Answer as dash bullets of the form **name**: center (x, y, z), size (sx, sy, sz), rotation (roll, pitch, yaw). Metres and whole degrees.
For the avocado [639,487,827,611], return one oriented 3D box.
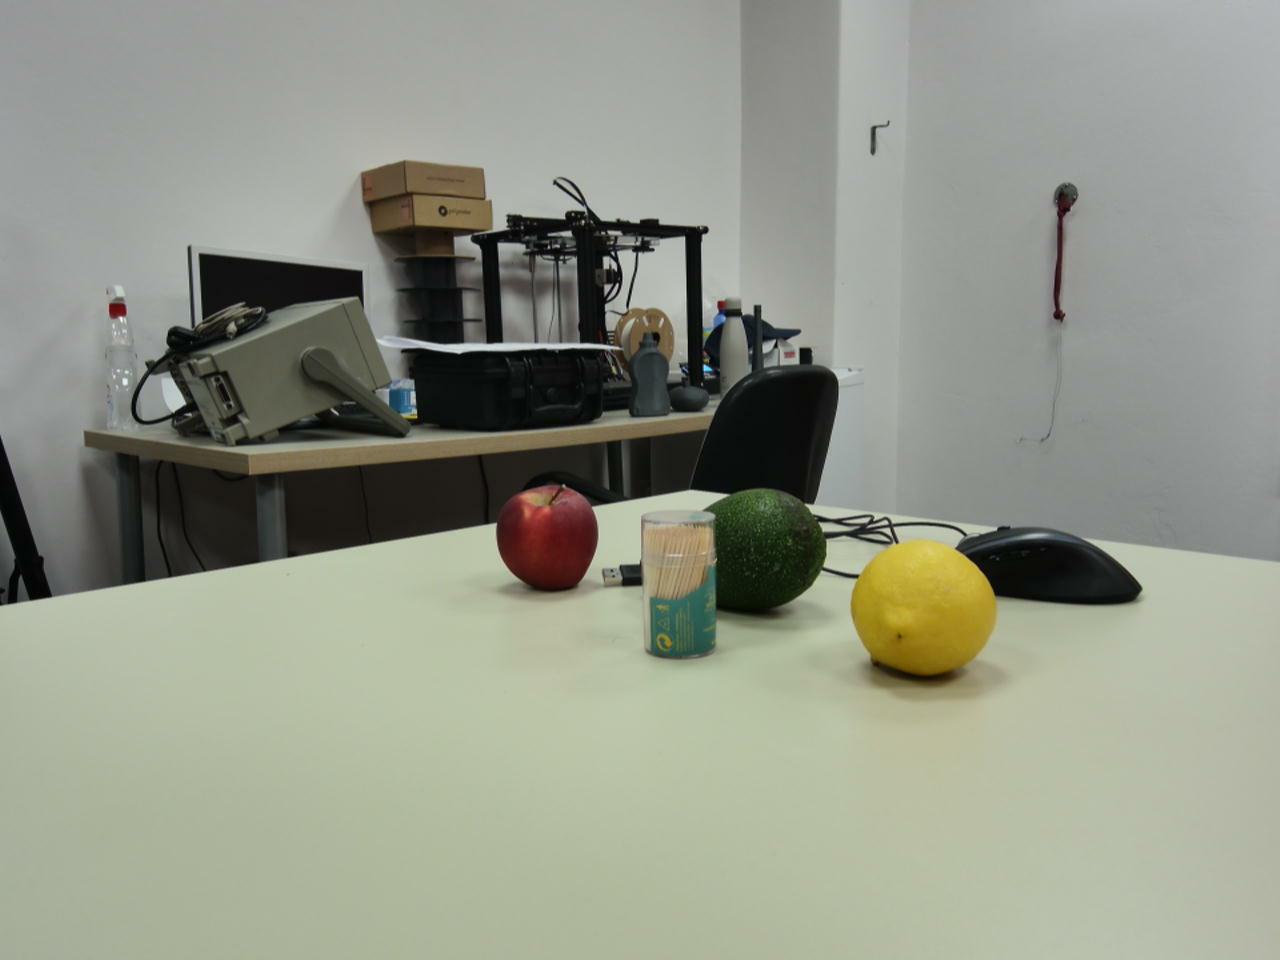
- **avocado**: center (0.063, 0.042, 0.627), size (0.074, 0.076, 0.123), rotation (-4, 8, -37)
